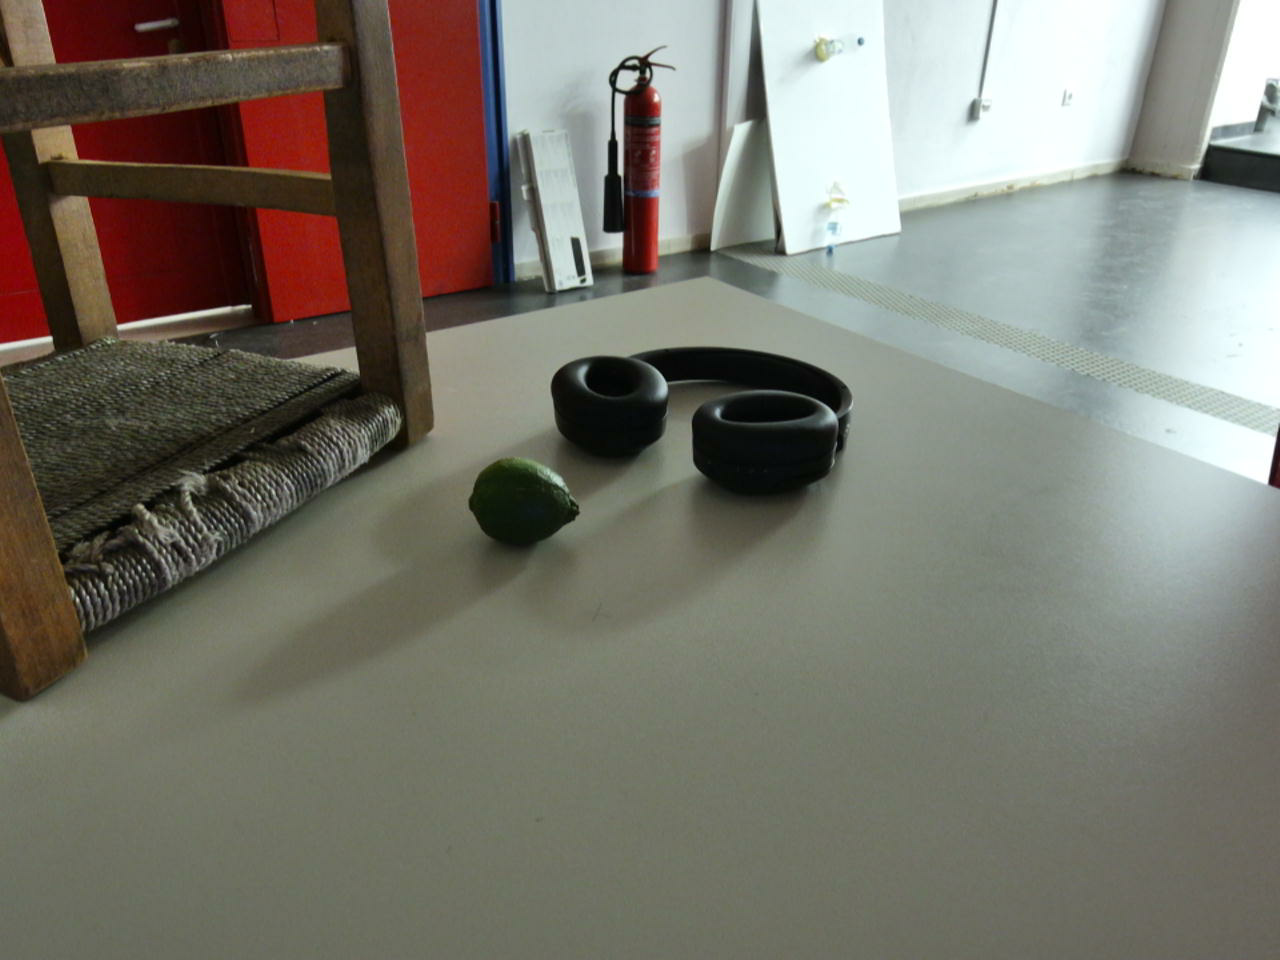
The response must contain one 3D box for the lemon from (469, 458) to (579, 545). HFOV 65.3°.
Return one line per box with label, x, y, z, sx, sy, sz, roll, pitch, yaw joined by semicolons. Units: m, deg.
lemon;-0.071;0.012;0.588;0.057;0.051;0.054;-20;32;-36
